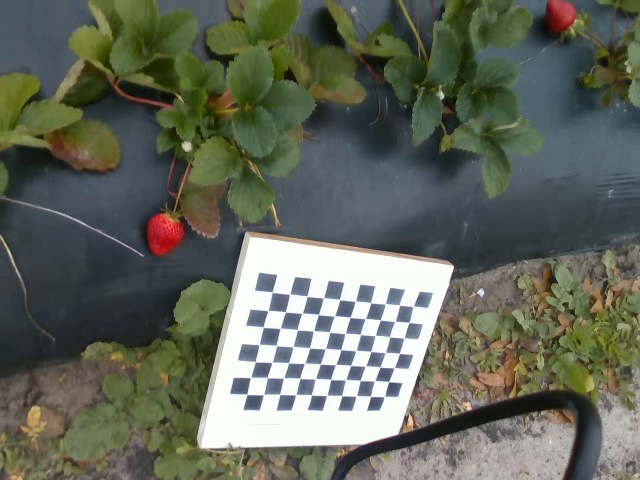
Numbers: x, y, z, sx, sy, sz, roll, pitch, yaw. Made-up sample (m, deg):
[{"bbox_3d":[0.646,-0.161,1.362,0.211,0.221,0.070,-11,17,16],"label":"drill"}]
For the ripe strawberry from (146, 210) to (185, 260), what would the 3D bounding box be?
[{"bbox_3d":[-0.110,-0.003,0.429,0.028,0.033,0.022,26,5,-24],"label":"ripe strawberry"}]
